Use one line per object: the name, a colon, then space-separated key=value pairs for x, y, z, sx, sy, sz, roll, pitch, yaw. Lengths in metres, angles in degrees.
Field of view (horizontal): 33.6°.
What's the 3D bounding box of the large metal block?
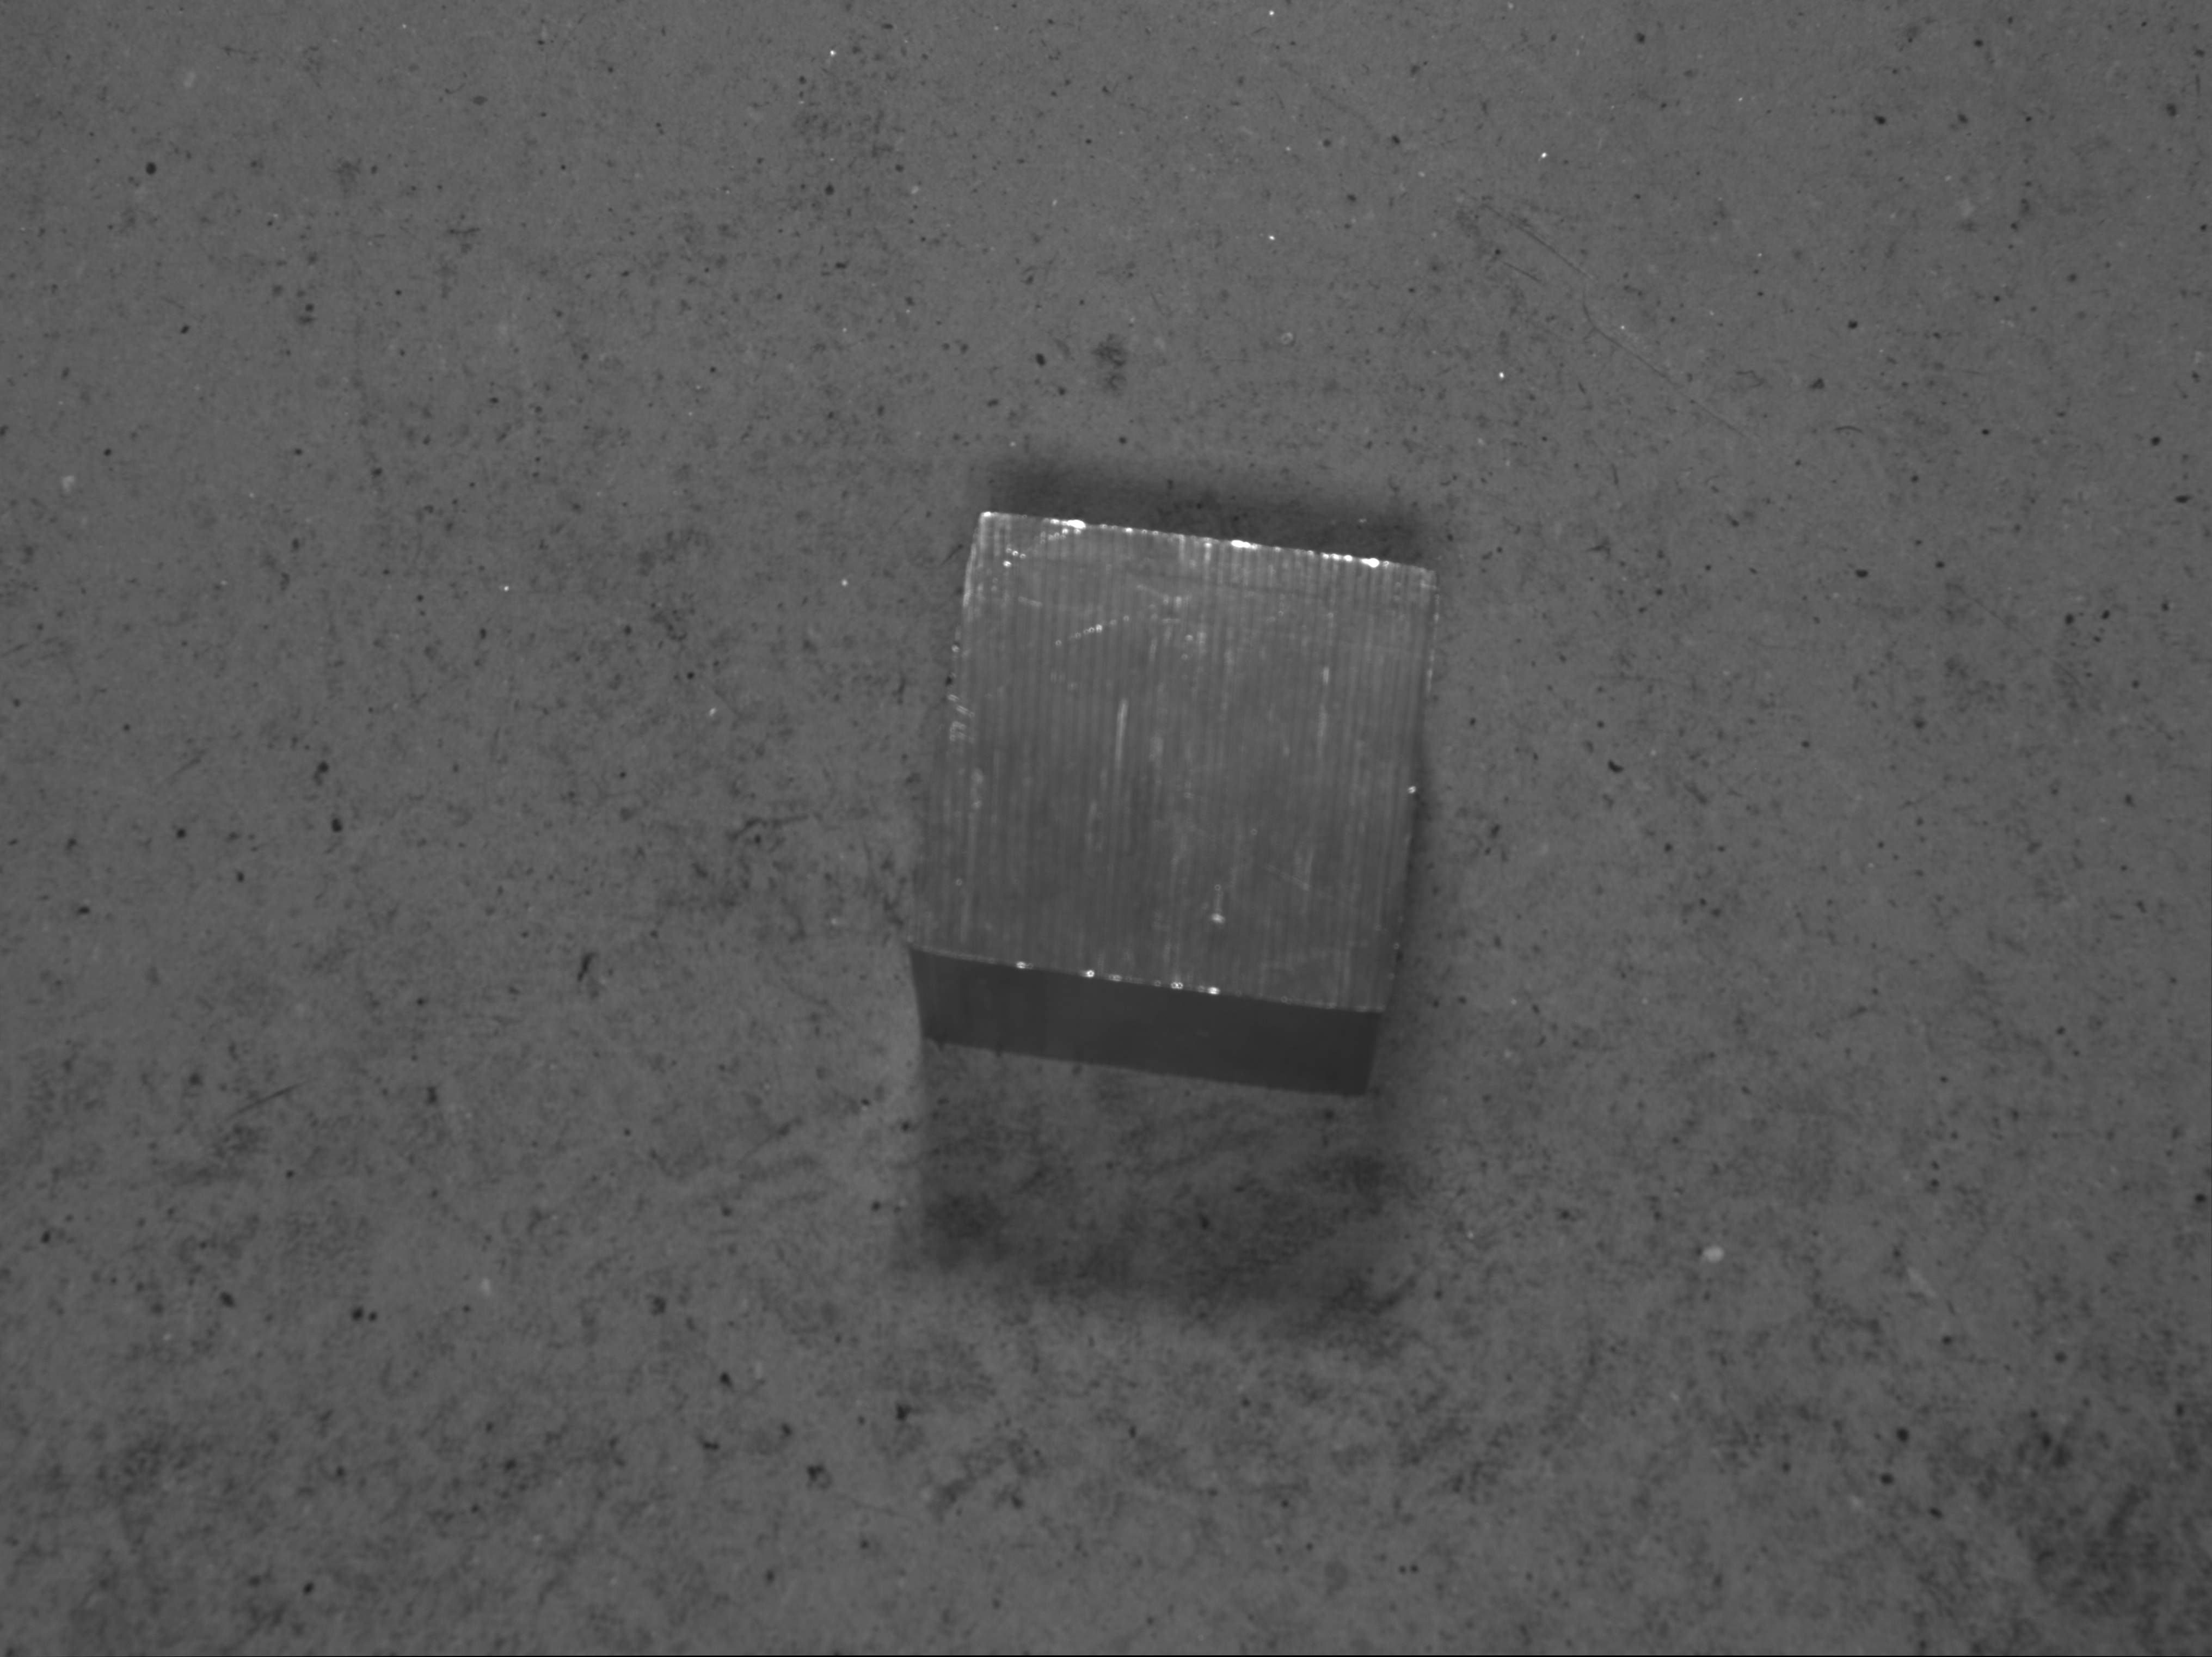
large metal block: x=0.015 y=-0.003 z=0.633 sx=0.080 sy=0.050 sz=0.080 roll=7 pitch=70 yaw=3
